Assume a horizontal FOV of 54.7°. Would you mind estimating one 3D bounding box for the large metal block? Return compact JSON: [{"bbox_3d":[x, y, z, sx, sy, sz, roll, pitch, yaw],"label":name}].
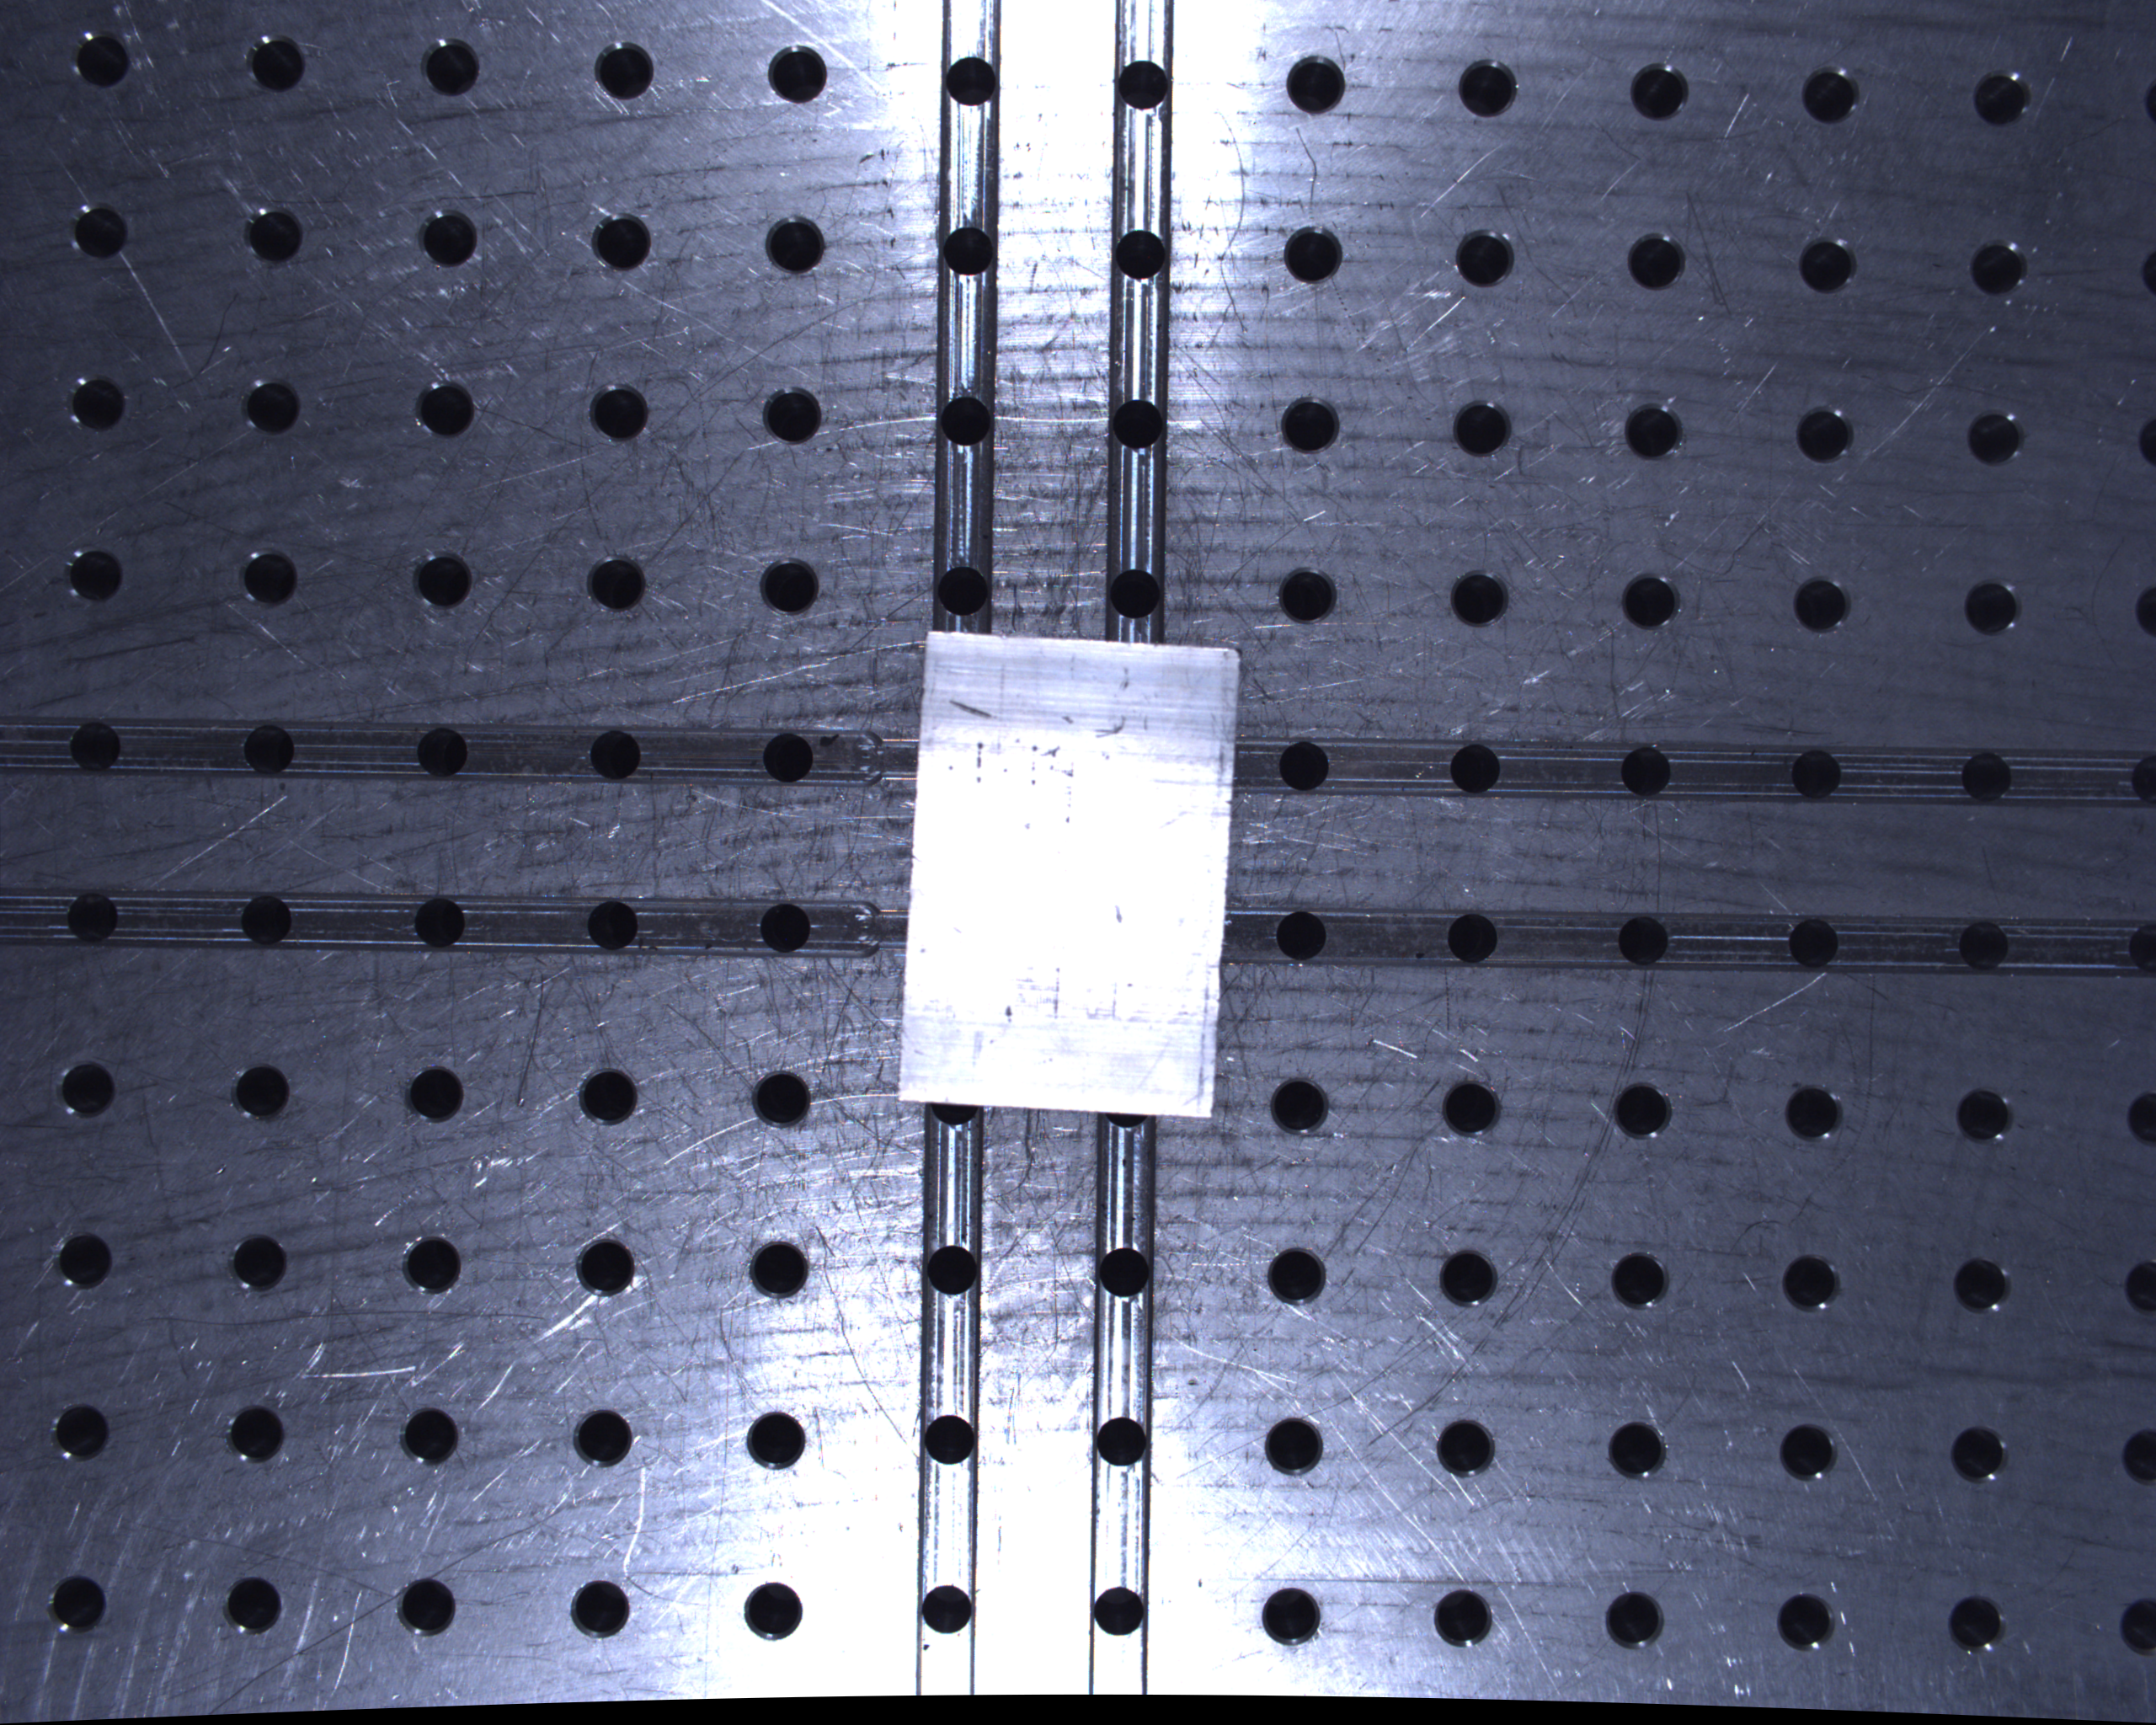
[{"bbox_3d":[-0.001,0.002,0.385,0.050,0.080,0.079,3,90,0],"label":"large metal block"}]
